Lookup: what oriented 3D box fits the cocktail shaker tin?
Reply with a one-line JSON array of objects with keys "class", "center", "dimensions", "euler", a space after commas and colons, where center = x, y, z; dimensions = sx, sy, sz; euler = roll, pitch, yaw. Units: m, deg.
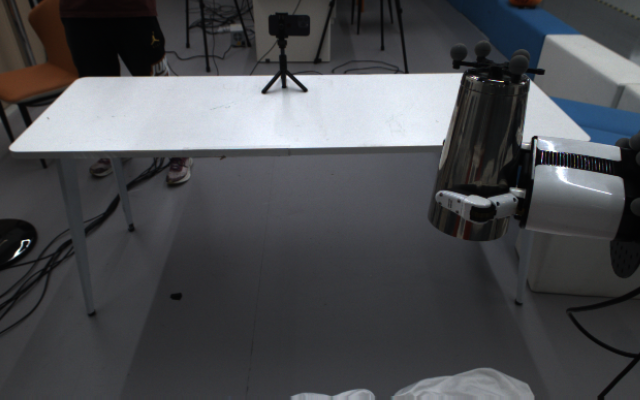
[{"class": "cocktail shaker tin", "center": [0.179, -0.051, 0.532], "dimensions": [0.093, 0.170, 0.093], "euler": [1, 28, -1]}]
